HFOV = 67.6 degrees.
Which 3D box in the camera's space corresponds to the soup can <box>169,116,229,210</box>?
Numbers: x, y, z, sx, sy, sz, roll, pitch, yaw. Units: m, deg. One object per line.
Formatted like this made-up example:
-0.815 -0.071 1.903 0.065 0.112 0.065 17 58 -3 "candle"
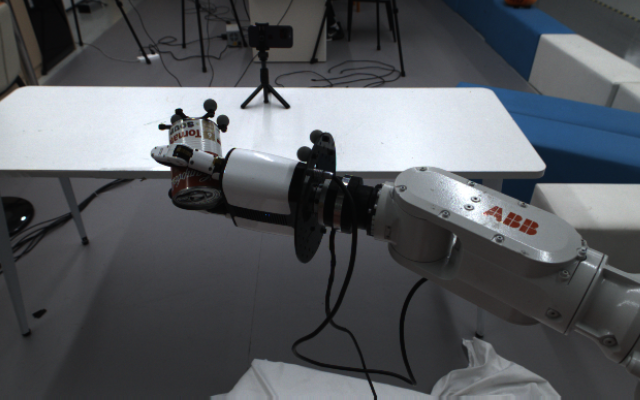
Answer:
-0.158 -0.045 0.624 0.067 0.067 0.101 -6 68 -12 "soup can"
